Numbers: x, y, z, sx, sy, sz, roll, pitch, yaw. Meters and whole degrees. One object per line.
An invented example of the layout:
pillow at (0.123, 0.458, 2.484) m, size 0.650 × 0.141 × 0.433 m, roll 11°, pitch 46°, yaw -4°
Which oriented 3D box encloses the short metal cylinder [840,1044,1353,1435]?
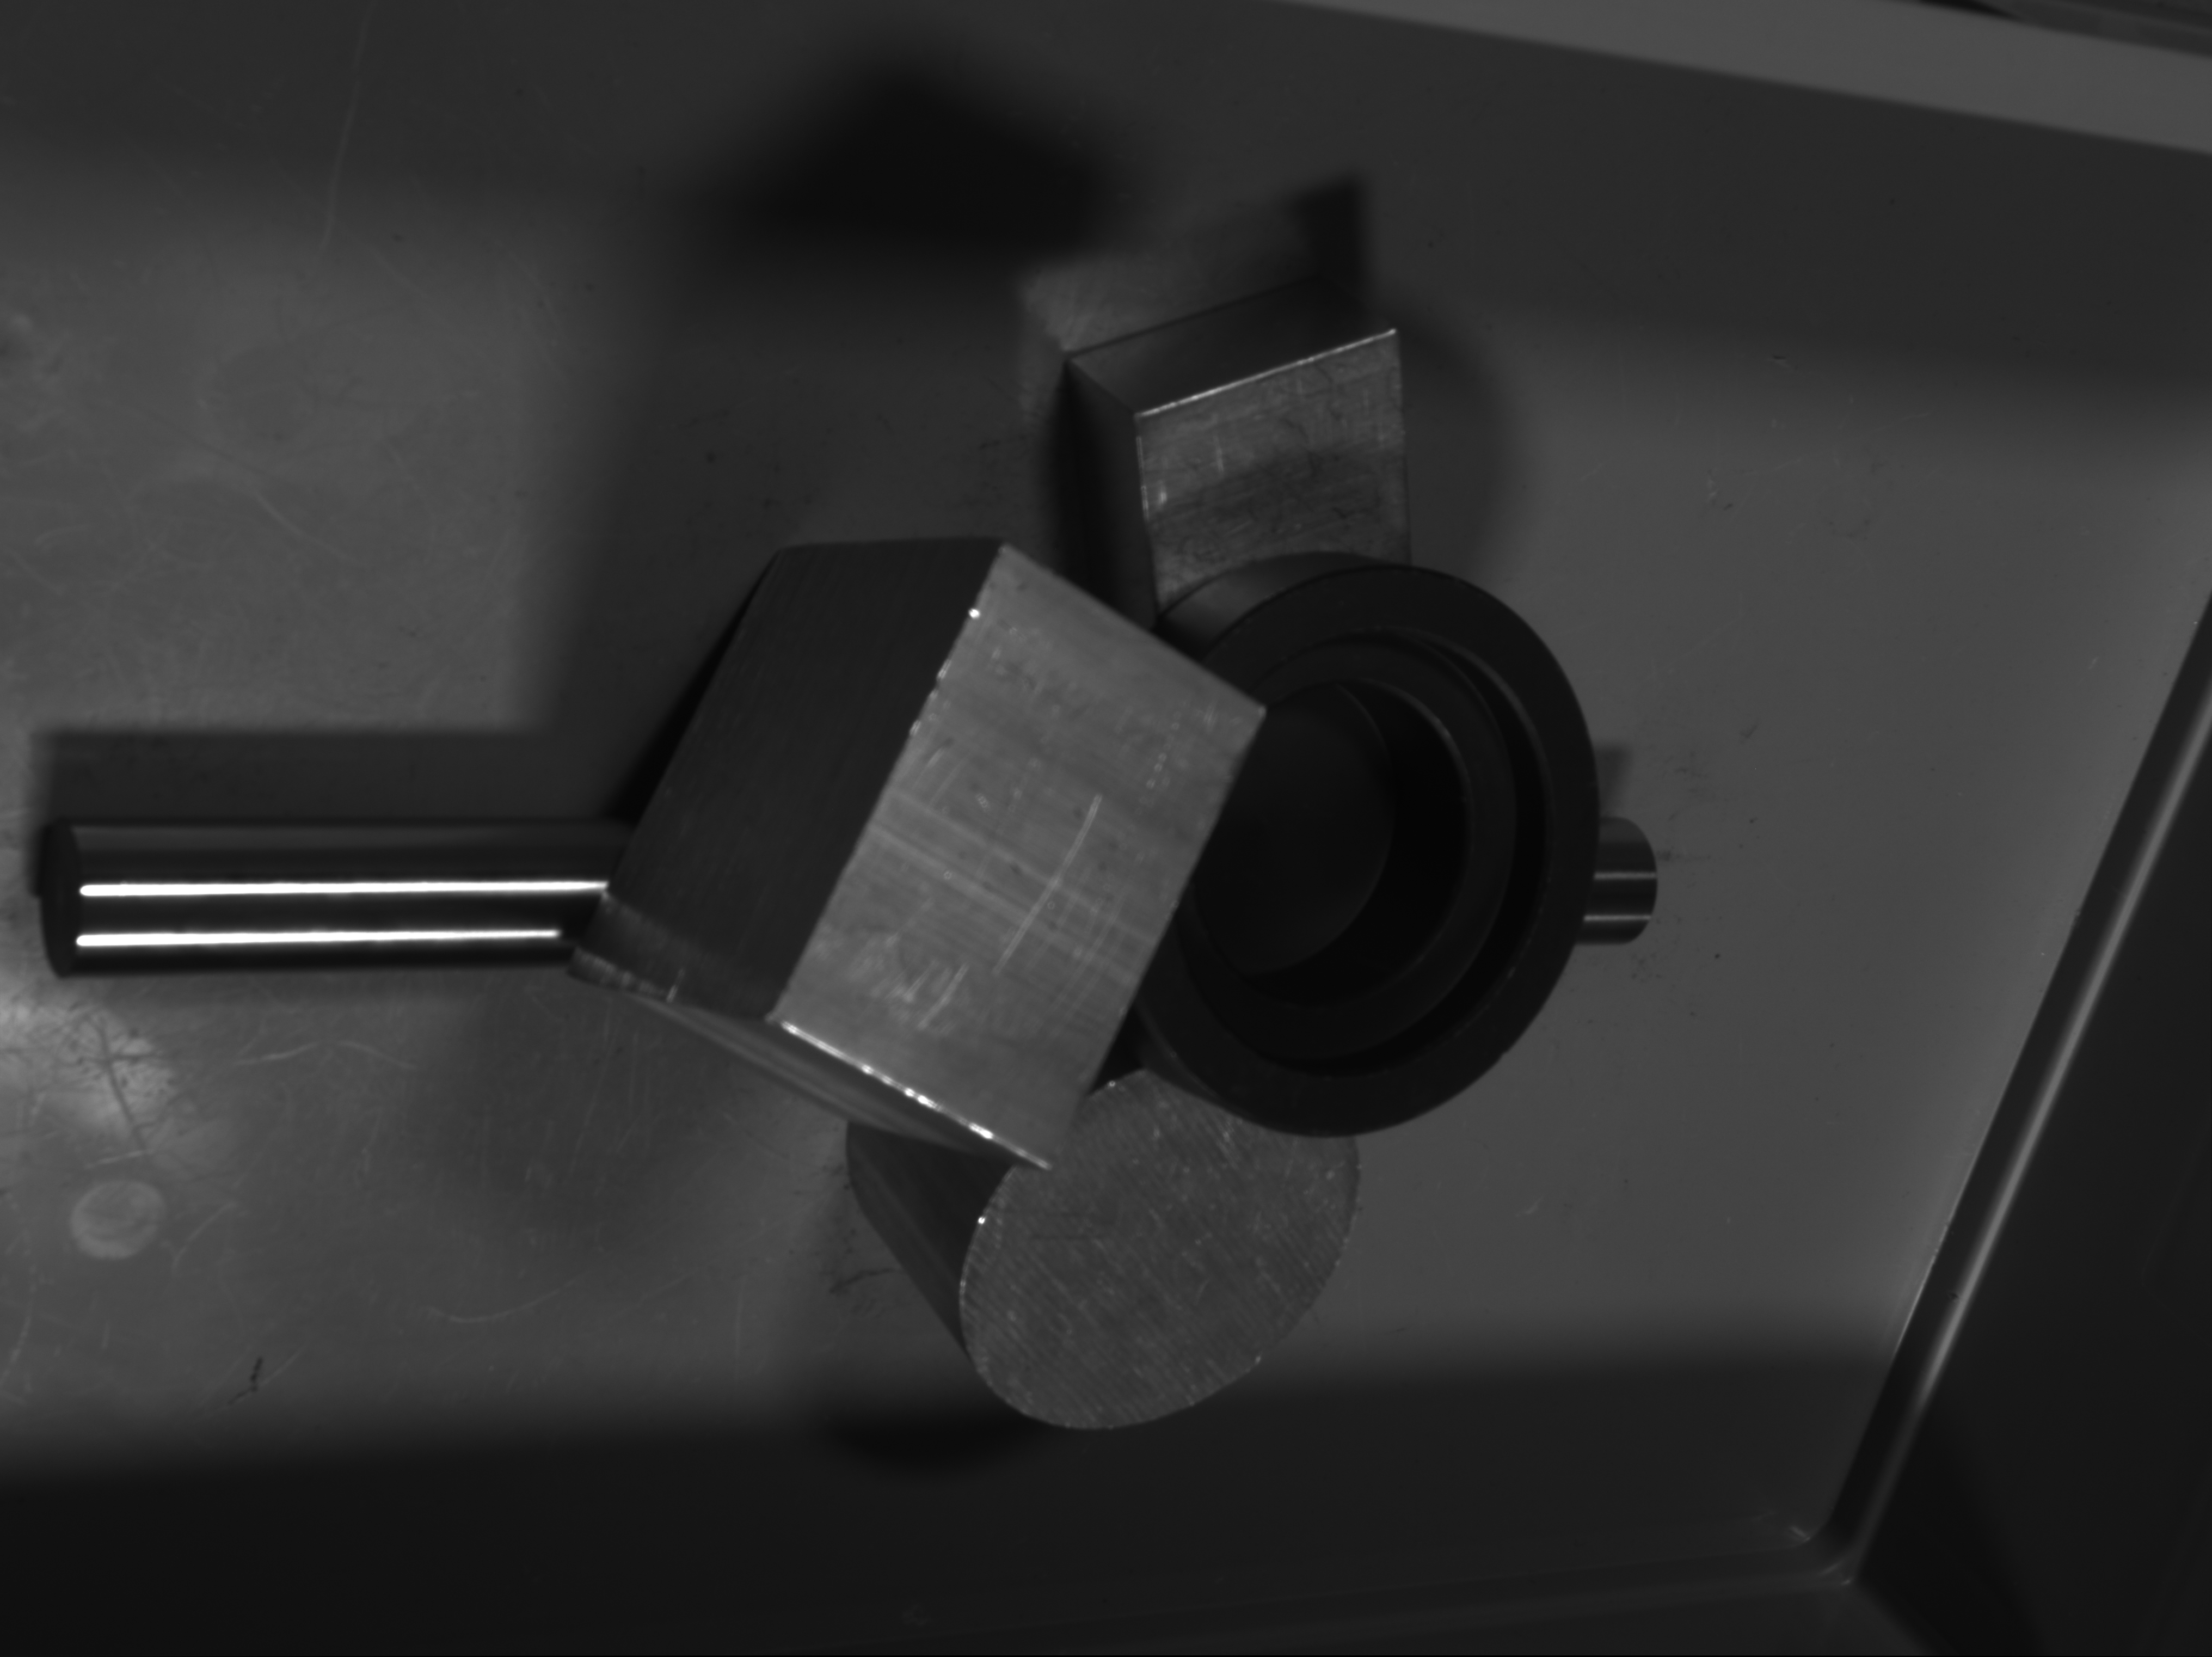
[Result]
short metal cylinder at (-0.002, 0.063, 0.670) m, size 0.080 × 0.050 × 0.080 m, roll -15°, pitch 125°, yaw -22°

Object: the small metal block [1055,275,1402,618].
small metal block at (0.022, -0.061, 0.625) m, size 0.050 × 0.025 × 0.050 m, roll -20°, pitch 126°, yaw -19°

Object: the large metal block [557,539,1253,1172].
large metal block at (-0.033, 0.002, 0.577) m, size 0.050 × 0.080 × 0.080 m, roll 31°, pitch 78°, yaw -28°

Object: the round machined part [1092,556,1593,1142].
round machined part at (0.033, 0.002, 0.633) m, size 0.098 × 0.042 × 0.098 m, roll -7°, pitch 104°, yaw -29°

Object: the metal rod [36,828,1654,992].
metal rod at (-0.031, 0.012, 0.637) m, size 0.301 × 0.025 × 0.025 m, roll 0°, pitch 118°, yaw -30°
